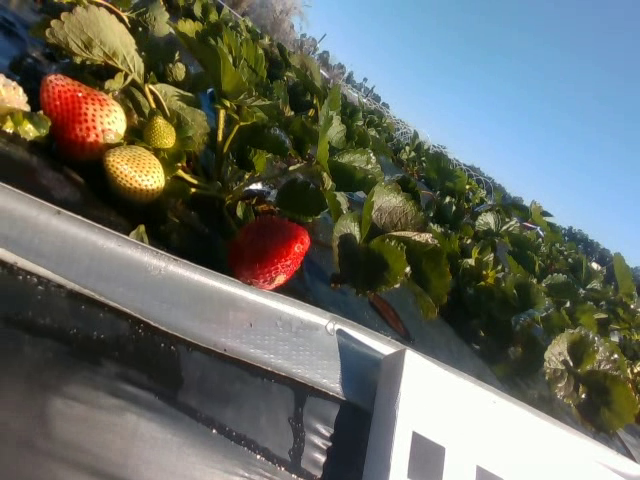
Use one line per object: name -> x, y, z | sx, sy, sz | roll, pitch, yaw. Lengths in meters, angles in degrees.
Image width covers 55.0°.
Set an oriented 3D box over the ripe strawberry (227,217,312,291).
ripe strawberry -> -0.019, 0.004, 0.244 | 0.036, 0.038, 0.045 | 28, -23, -21
